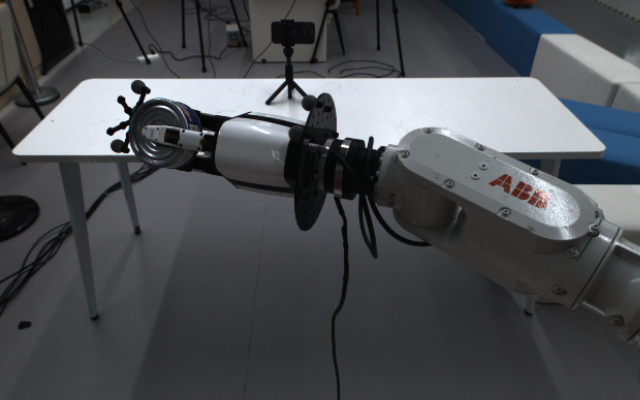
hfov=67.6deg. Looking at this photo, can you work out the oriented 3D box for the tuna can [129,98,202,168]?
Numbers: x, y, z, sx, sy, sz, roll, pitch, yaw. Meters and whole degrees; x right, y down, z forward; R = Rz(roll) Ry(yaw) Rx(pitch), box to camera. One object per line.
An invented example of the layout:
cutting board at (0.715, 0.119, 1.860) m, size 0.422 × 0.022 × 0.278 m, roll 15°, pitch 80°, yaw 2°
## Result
tuna can at (-0.191, -0.082, 0.599) m, size 0.085 × 0.085 × 0.034 m, roll 12°, pitch 5°, yaw 14°
